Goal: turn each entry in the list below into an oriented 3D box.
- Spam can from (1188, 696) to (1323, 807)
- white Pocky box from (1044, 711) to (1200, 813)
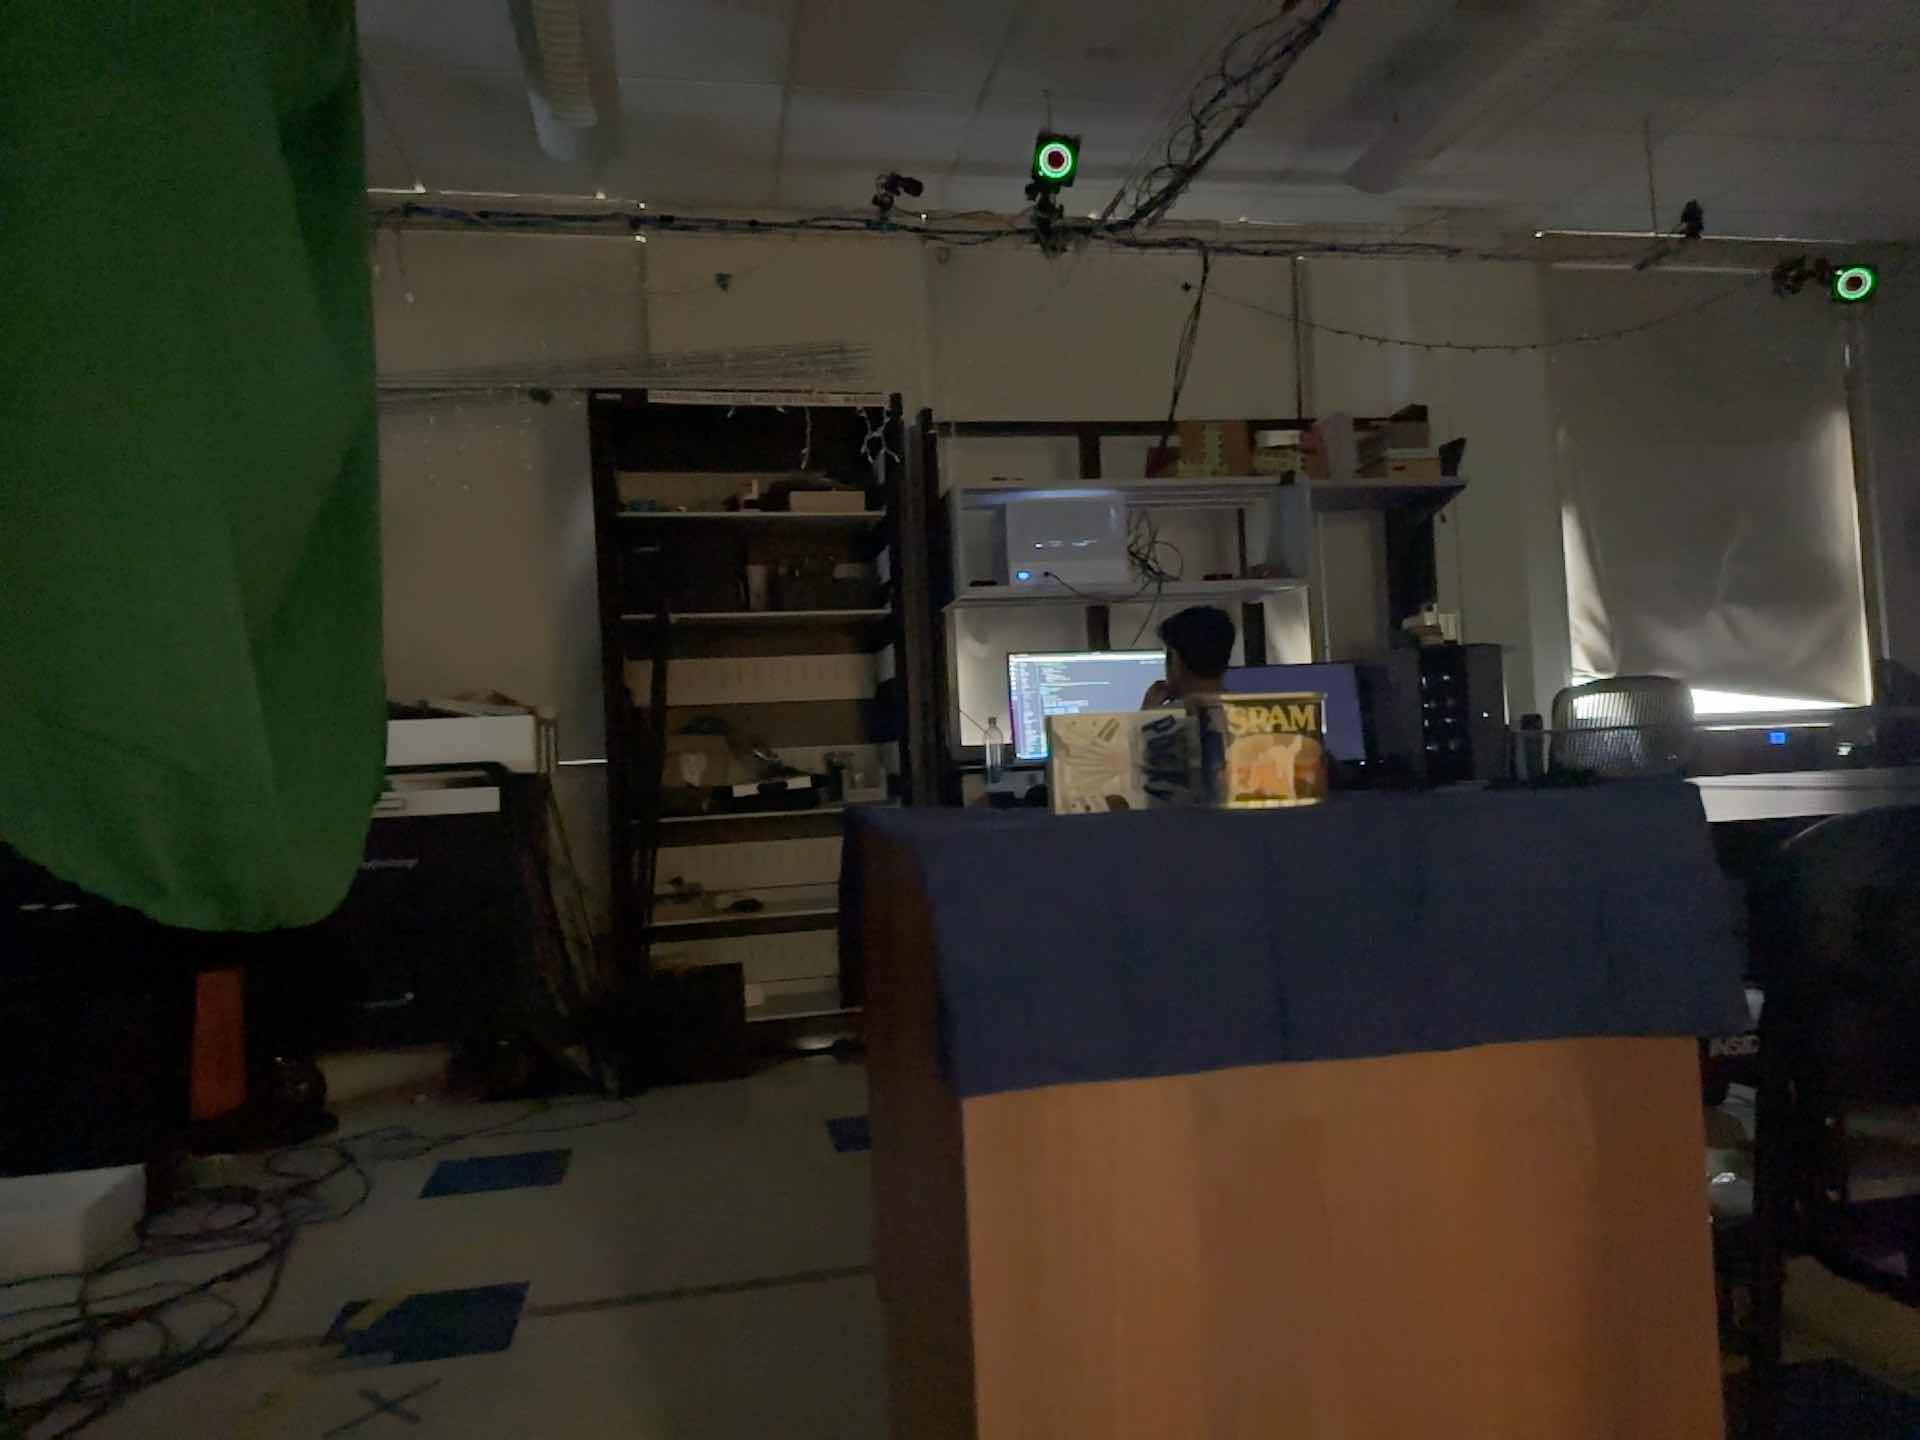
[{"bbox_3d":[0.236,0.025,1.072,0.100,0.083,0.056,0,-4,-9],"label":"Spam can"},{"bbox_3d":[0.152,0.035,1.166,0.154,0.084,0.028,-2,-3,-1],"label":"white Pocky box"}]
